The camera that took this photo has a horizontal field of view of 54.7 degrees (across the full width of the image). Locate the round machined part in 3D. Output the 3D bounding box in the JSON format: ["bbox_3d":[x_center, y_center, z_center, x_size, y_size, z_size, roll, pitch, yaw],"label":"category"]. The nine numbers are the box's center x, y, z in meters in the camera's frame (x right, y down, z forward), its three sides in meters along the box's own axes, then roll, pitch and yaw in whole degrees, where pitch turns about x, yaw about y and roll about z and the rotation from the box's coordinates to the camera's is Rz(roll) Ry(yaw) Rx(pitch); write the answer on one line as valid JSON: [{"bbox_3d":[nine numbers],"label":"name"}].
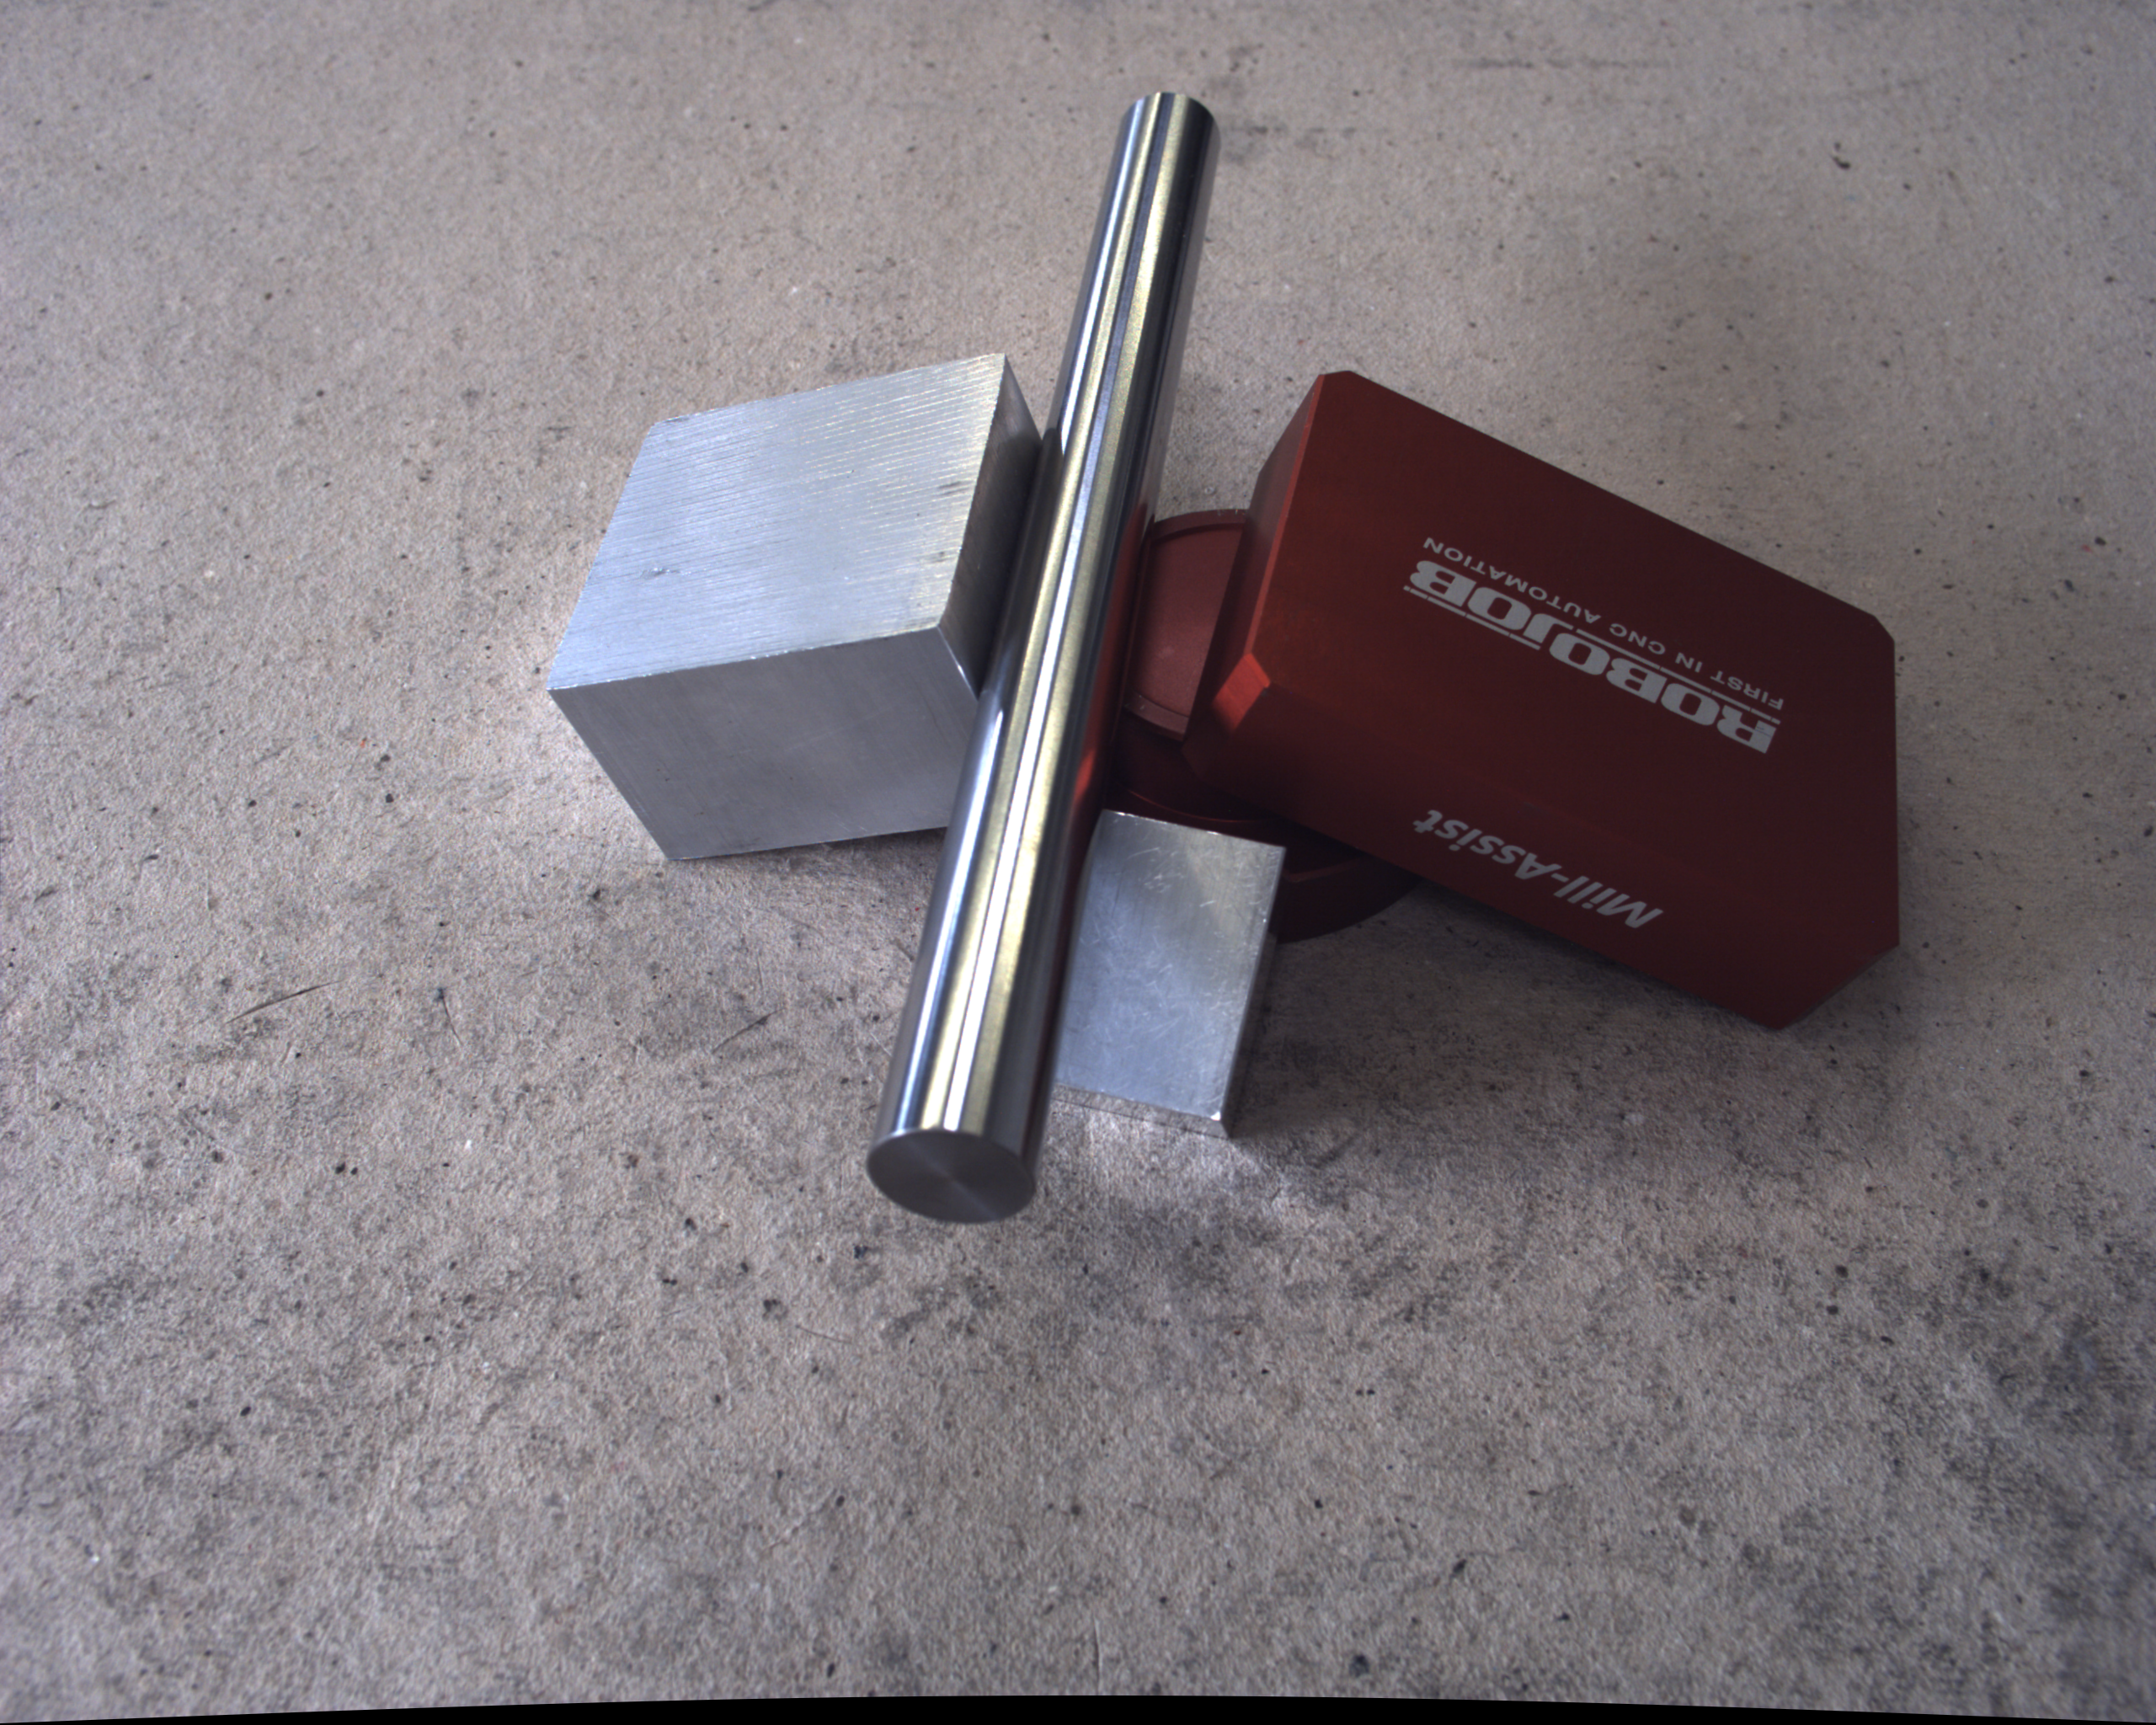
[{"bbox_3d":[0.033,-0.034,0.422,0.099,0.042,0.098,0,50,0],"label":"round machined part"}]

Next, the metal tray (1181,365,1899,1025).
[{"bbox_3d":[0.093,-0.034,0.401,0.131,0.030,0.090,23,52,-8],"label":"metal tray"}]

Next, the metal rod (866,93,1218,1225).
[{"bbox_3d":[0.002,-0.064,0.404,0.025,0.025,0.300,6,48,5],"label":"metal rod"}]

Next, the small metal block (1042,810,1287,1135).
[{"bbox_3d":[0.008,0.019,0.376,0.050,0.025,0.050,12,76,10],"label":"small metal block"}]

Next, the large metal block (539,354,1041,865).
[{"bbox_3d":[-0.049,-0.050,0.416,0.080,0.050,0.080,-6,48,18],"label":"large metal block"}]
